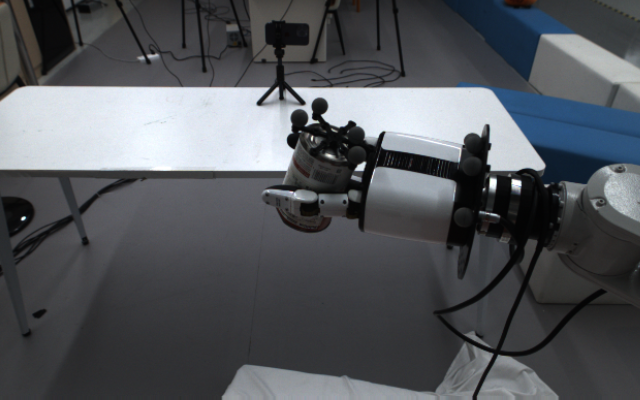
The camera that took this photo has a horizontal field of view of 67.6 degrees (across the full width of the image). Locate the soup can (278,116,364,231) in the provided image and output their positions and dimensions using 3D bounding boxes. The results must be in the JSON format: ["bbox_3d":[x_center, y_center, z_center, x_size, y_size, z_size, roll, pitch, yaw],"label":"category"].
[{"bbox_3d":[-0.002,-0.023,0.526,0.067,0.101,0.067,14,39,-12],"label":"soup can"}]
